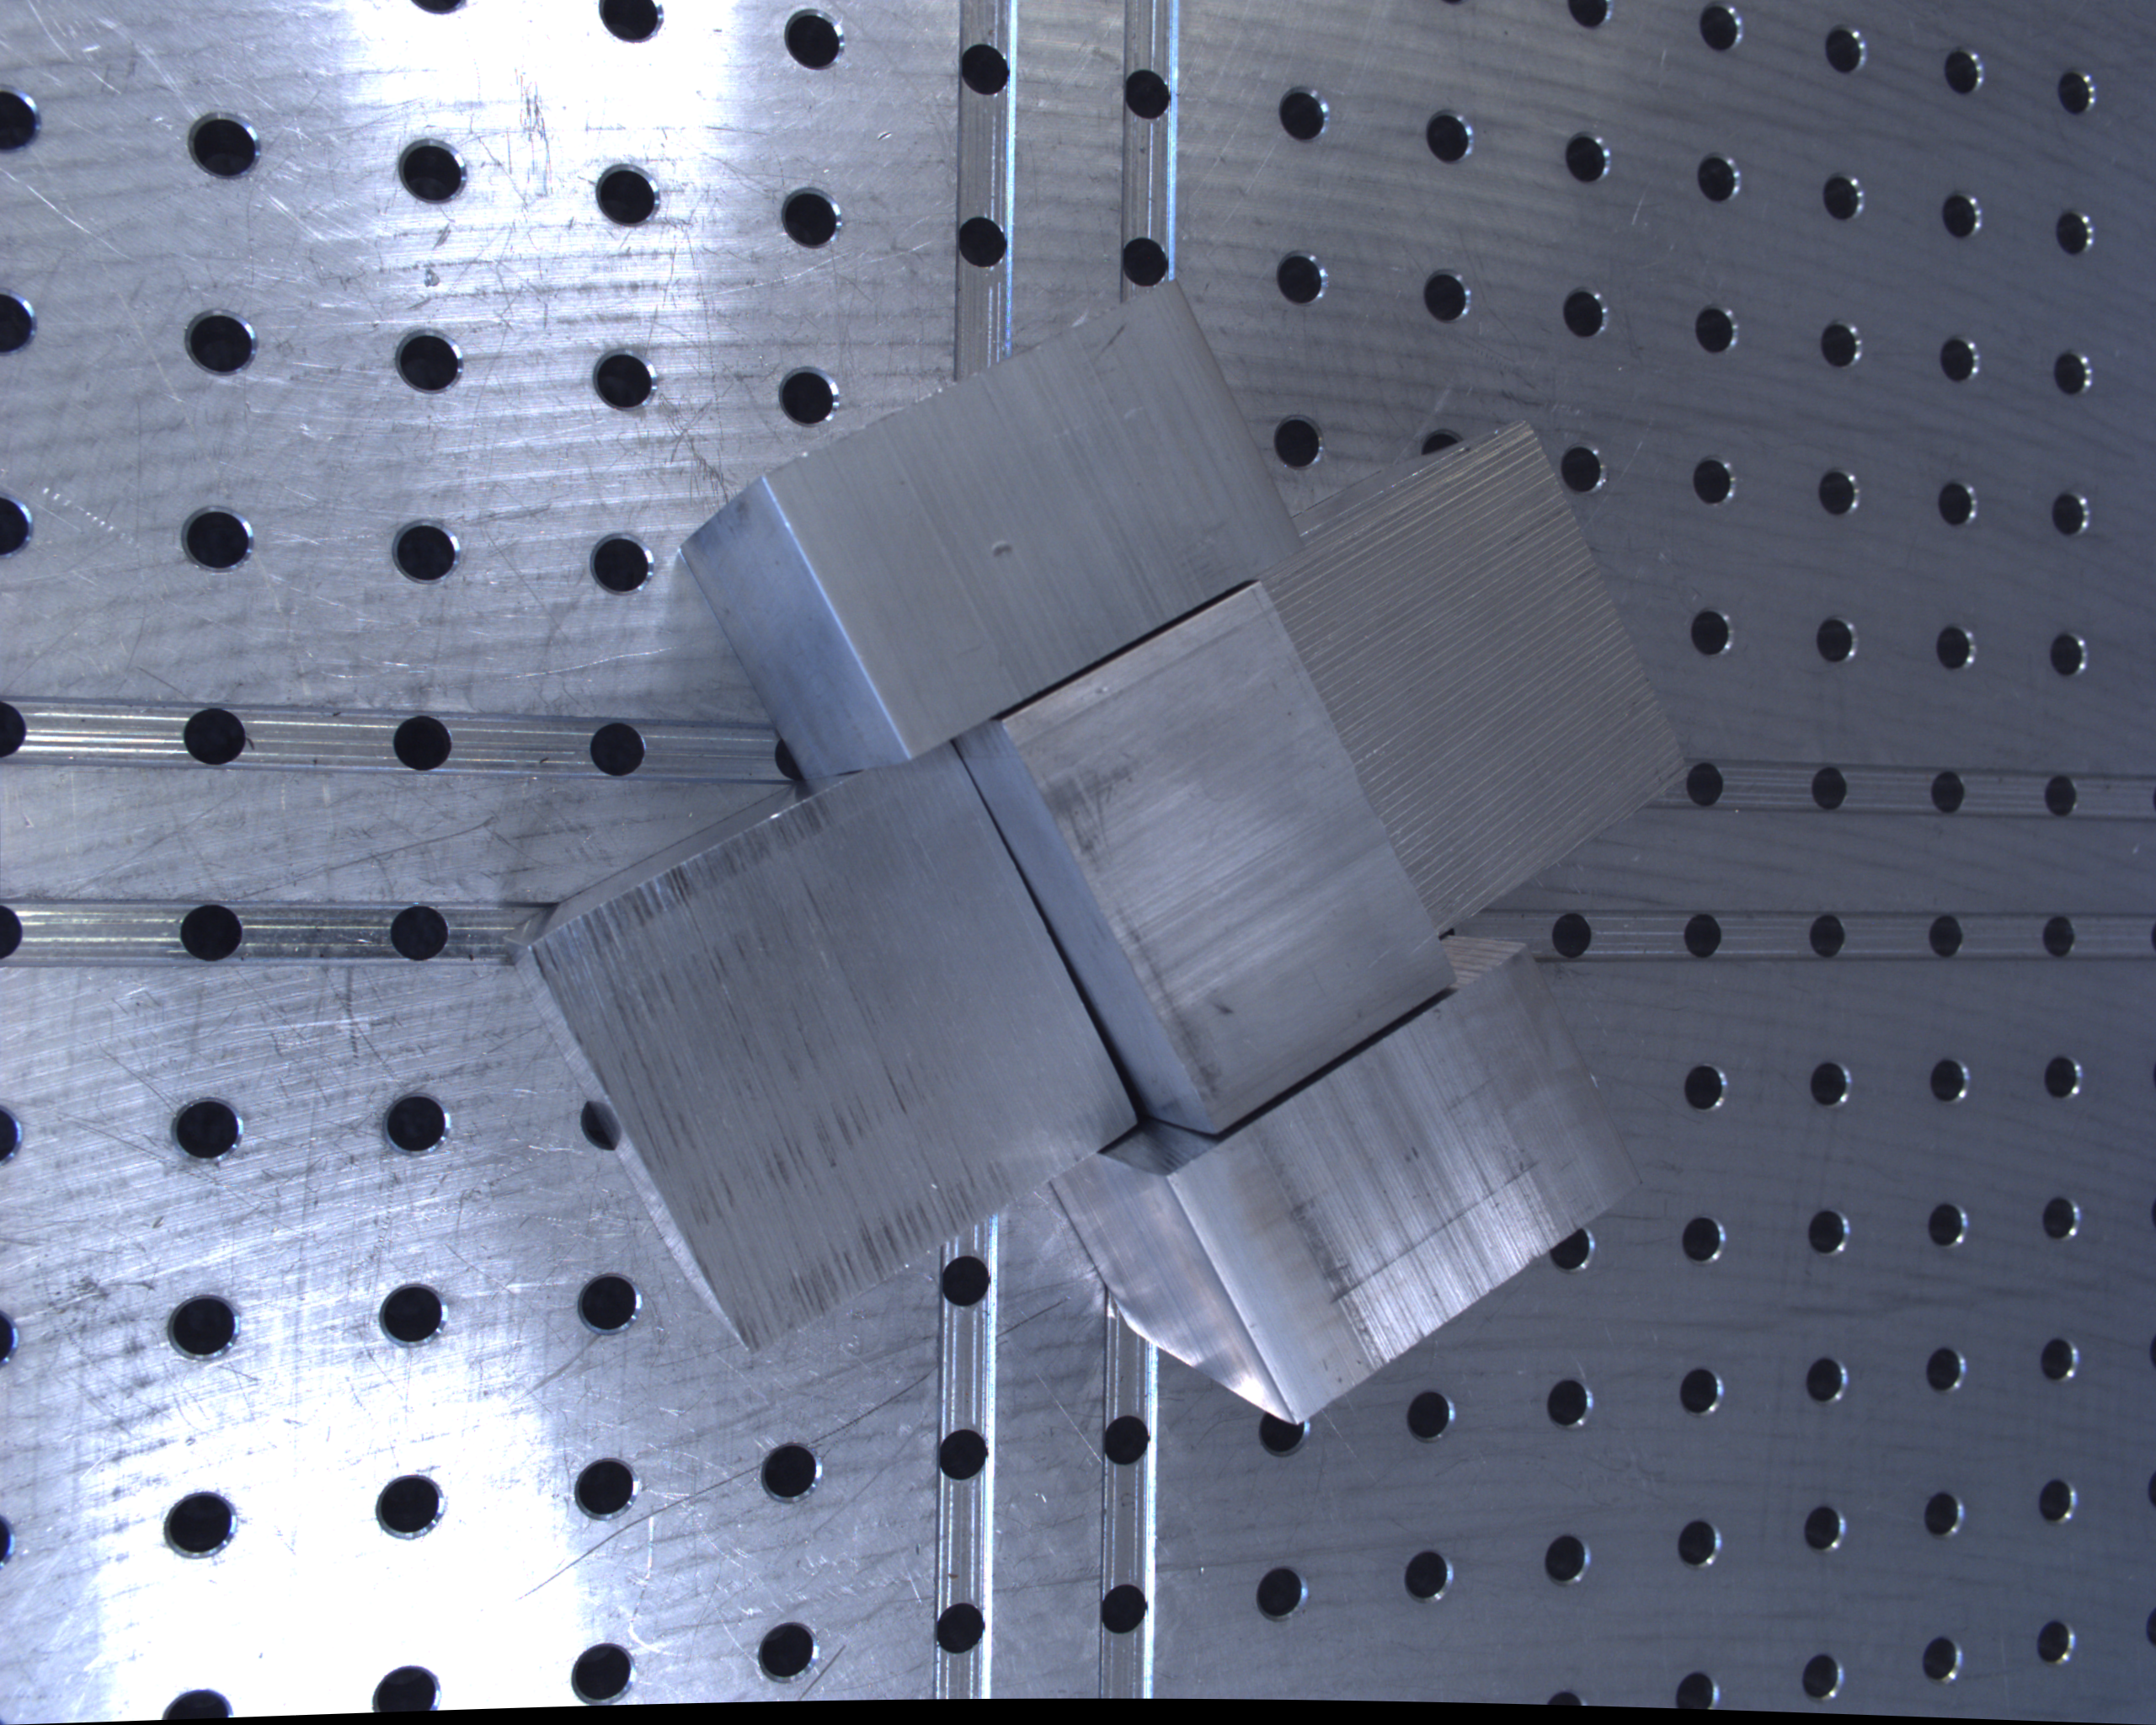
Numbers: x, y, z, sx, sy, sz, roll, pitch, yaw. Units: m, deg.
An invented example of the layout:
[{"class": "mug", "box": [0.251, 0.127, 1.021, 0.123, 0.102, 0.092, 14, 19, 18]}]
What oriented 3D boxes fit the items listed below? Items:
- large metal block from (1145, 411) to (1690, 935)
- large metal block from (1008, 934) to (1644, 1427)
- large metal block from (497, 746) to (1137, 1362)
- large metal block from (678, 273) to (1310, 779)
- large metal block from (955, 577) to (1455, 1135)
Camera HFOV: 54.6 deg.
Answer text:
[{"class": "large metal block", "box": [0.063, -0.034, 0.421, 0.080, 0.050, 0.080, -30, 102, -17]}, {"class": "large metal block", "box": [0.044, 0.055, 0.399, 0.080, 0.080, 0.050, -30, 100, -18]}, {"class": "large metal block", "box": [-0.049, 0.031, 0.382, 0.080, 0.050, 0.080, -28, 99, -18]}, {"class": "large metal block", "box": [-0.019, -0.057, 0.376, 0.080, 0.080, 0.050, -30, 100, -17]}, {"class": "large metal block", "box": [0.013, -0.001, 0.388, 0.050, 0.080, 0.080, -30, 100, -17]}]
